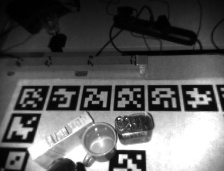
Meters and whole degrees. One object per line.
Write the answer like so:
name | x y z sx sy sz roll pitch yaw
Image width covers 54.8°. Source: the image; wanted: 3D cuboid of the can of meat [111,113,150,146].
can of meat | 0.052 0.126 0.605 0.102 0.084 0.057 -7 55 1

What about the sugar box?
sugar box | -0.142 0.155 0.602 0.177 0.093 0.045 -32 57 -16

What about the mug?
mug | -0.052 0.165 0.582 0.092 0.082 0.117 22 64 19

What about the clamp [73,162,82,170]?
clamp | -0.075 0.288 0.540 0.163 0.037 0.122 33 62 20

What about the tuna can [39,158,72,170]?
tuna can | -0.149 0.240 0.574 0.085 0.034 0.085 -3 58 5
